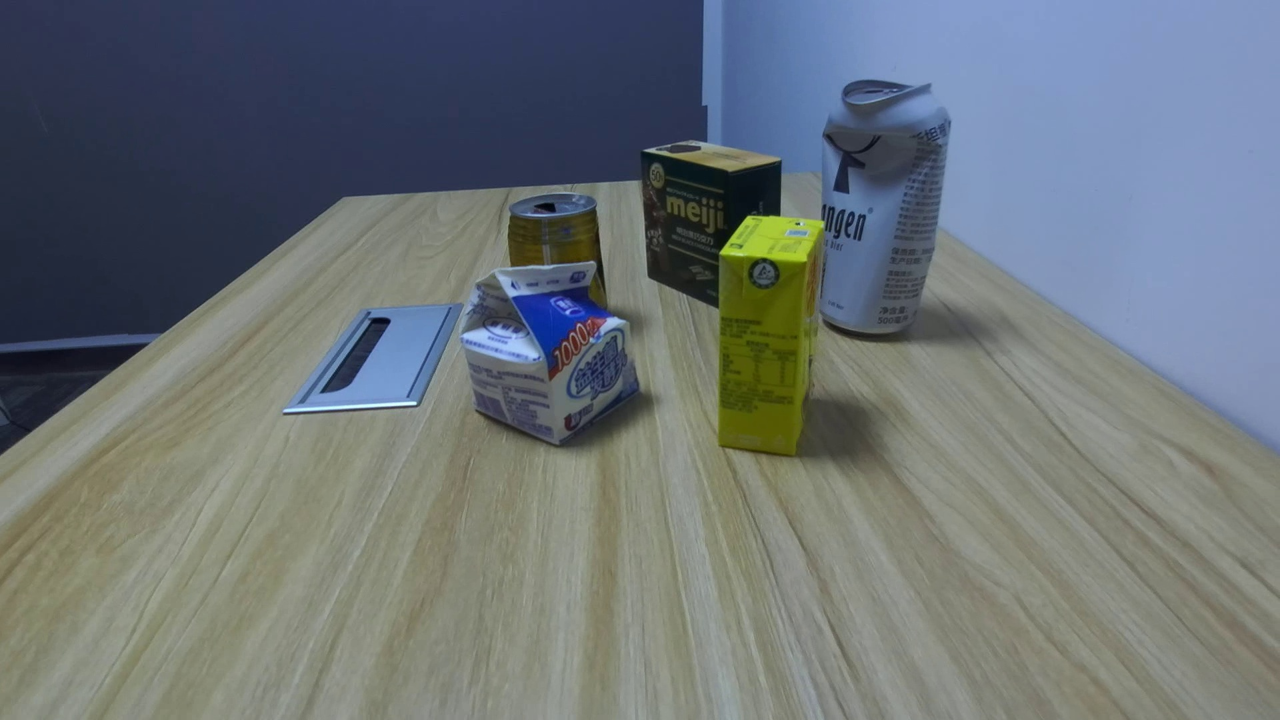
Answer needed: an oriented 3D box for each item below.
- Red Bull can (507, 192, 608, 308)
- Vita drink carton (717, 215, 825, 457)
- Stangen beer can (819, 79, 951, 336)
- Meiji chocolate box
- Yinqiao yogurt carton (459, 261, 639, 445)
[{"bbox_3d":[-0.058,-0.066,0.507,0.069,0.092,0.069,-2,27,1],"label":"Red Bull can"},{"bbox_3d":[0.069,-0.013,0.369,0.043,0.109,0.067,7,29,18],"label":"Vita drink carton"},{"bbox_3d":[0.157,-0.098,0.471,0.077,0.162,0.066,5,29,16],"label":"Stangen beer can"},{"bbox_3d":[0.054,-0.104,0.547,0.056,0.109,0.109,-18,31,-30],"label":"Meiji chocolate box"},{"bbox_3d":[-0.053,-0.015,0.400,0.077,0.093,0.083,17,33,35],"label":"Yinqiao yogurt carton"}]
